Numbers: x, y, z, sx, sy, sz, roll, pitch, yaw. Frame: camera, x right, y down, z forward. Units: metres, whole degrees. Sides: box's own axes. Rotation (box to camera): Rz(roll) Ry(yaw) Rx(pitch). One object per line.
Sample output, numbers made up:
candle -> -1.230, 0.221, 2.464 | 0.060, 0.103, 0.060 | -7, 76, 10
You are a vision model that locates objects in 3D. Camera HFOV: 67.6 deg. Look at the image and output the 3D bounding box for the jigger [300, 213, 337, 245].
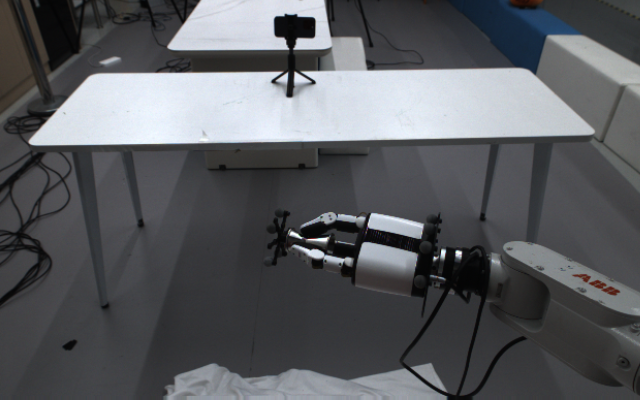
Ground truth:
jigger -> -0.009, 0.064, 0.753 | 0.071, 0.043, 0.043 | 8, 35, 17
